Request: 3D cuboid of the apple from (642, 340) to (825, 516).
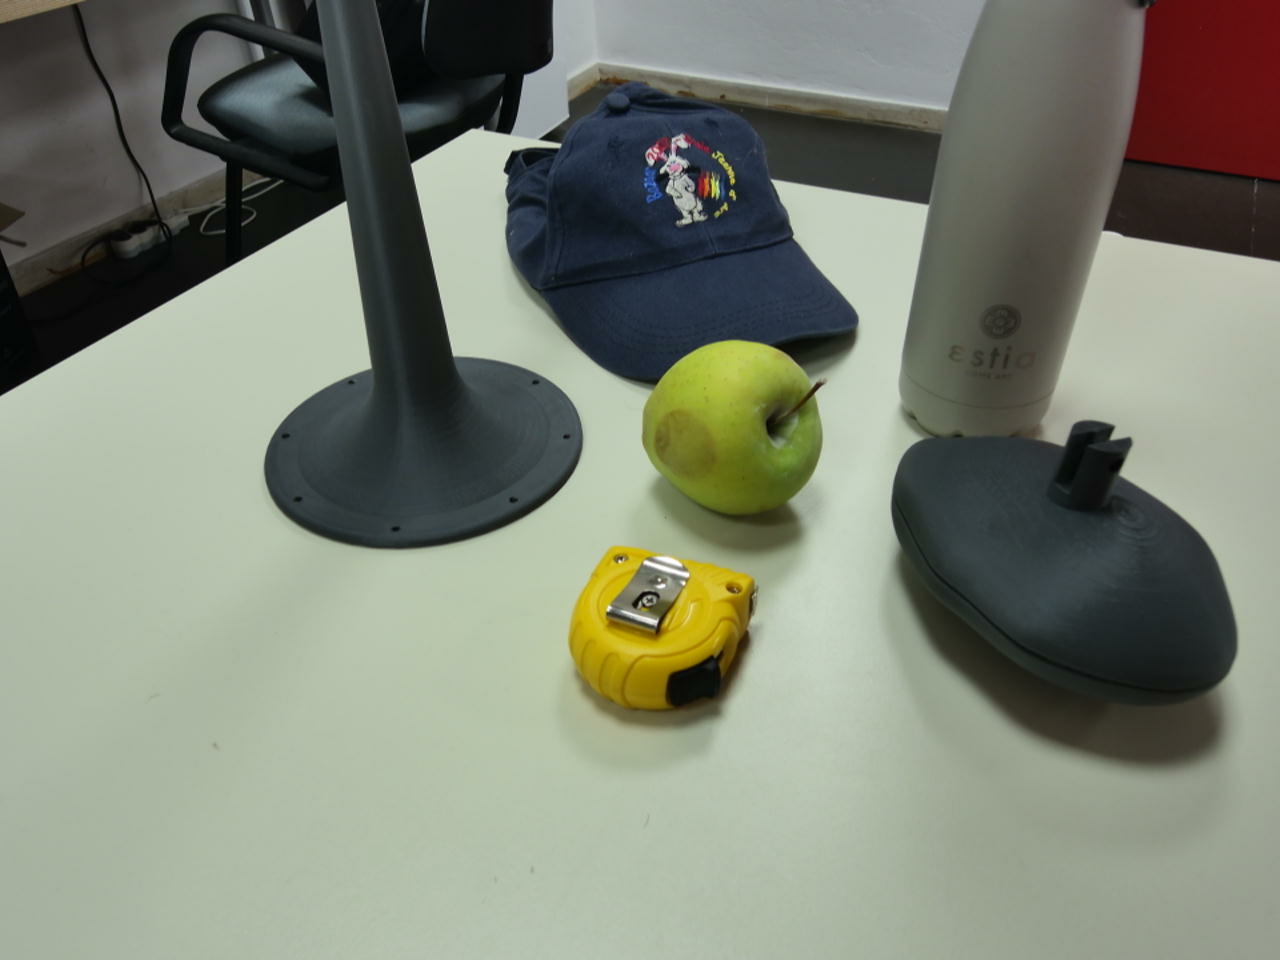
[{"bbox_3d":[0.040,-0.024,0.428,0.072,0.075,0.077,-11,39,-15],"label":"apple"}]
